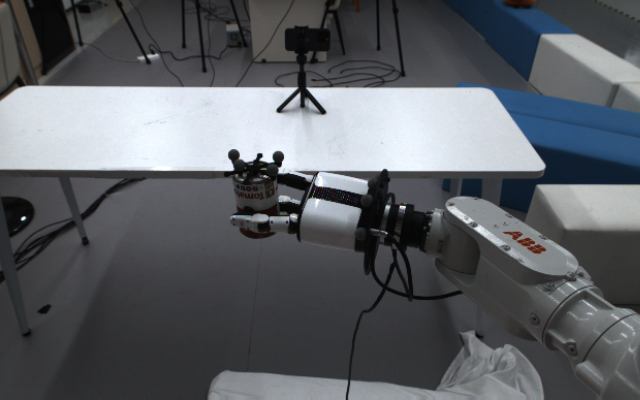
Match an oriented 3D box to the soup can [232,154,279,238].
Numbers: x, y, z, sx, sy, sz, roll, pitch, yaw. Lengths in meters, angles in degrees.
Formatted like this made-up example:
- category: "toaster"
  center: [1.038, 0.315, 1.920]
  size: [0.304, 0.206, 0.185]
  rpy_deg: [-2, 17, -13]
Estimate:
- category: "soup can"
  center: [-0.096, 0.000, 0.747]
  size: [0.067, 0.101, 0.067]
  rpy_deg: [-2, 33, 1]
